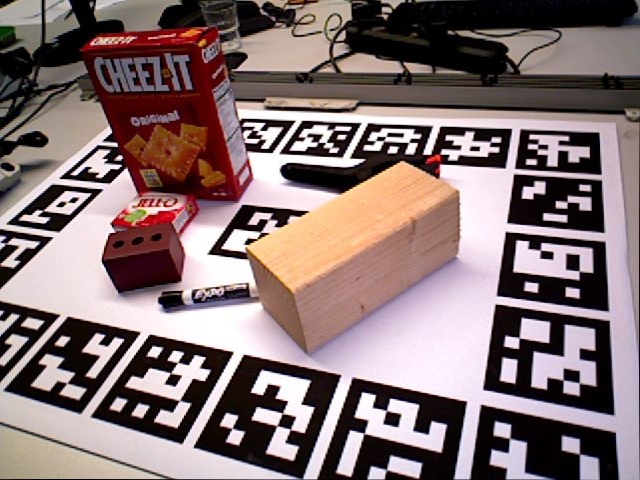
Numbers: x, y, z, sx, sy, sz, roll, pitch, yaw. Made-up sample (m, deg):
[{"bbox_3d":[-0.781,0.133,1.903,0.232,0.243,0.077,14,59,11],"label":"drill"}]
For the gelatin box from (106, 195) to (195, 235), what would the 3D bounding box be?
[{"bbox_3d":[-0.219,-0.025,0.702,0.090,0.031,0.072,5,46,19],"label":"gelatin box"}]

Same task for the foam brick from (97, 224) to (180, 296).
[{"bbox_3d":[-0.207,0.022,0.625,0.078,0.052,0.052,-11,43,2],"label":"foam brick"}]

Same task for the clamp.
[{"bbox_3d":[0.050,-0.075,0.677,0.202,0.037,0.163,-16,42,-2],"label":"clamp"}]

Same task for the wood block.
[{"bbox_3d":[0.037,0.010,0.550,0.202,0.092,0.090,-30,42,-22],"label":"wood block"}]

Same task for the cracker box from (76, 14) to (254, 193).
[{"bbox_3d":[-0.190,-0.165,0.696,0.165,0.218,0.070,5,43,16],"label":"cracker box"}]

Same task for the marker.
[{"bbox_3d":[-0.130,0.062,0.584,0.121,0.020,0.019,-8,43,6],"label":"marker"}]
